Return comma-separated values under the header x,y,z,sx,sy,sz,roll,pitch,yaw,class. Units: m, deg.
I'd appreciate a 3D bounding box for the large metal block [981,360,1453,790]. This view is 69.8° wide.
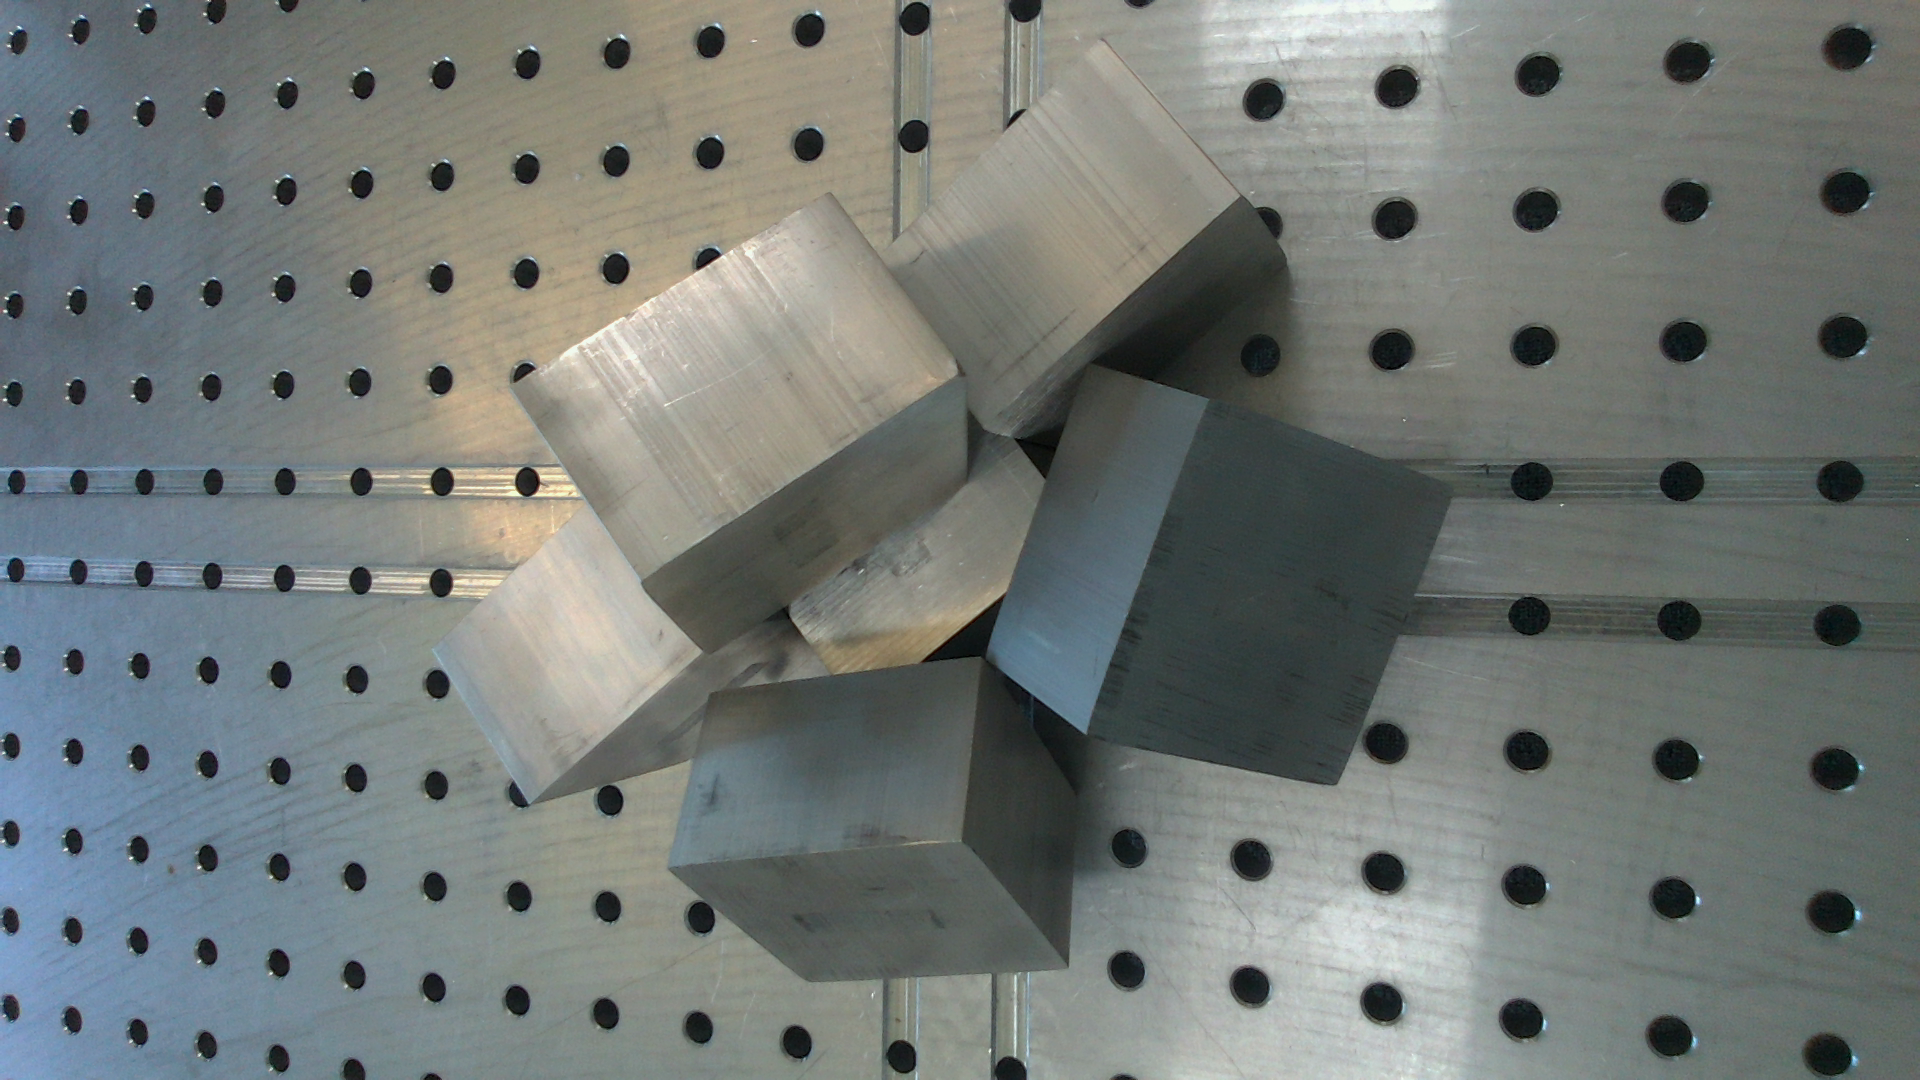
x,y,z,sx,sy,sz,roll,pitch,yaw,class
0.062,0.009,0.339,0.050,0.080,0.080,31,104,59,large metal block

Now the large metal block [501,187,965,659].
x,y,z,sx,sy,sz,roll,pitch,yaw,class
-0.046,-0.023,0.319,0.080,0.080,0.050,-34,78,-9,large metal block

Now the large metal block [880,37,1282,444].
x,y,z,sx,sy,sz,roll,pitch,yaw,class
0.032,-0.071,0.357,0.080,0.080,0.050,-41,77,15,large metal block

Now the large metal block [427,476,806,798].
x,y,z,sx,sy,sz,roll,pitch,yaw,class
-0.089,0.025,0.400,0.080,0.080,0.050,-40,78,15,large metal block

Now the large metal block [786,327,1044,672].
x,y,z,sx,sy,sz,roll,pitch,yaw,class
-0.013,-0.009,0.391,0.080,0.050,0.080,-41,77,15,large metal block

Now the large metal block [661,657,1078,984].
x,y,z,sx,sy,sz,roll,pitch,yaw,class
-0.020,0.079,0.369,0.080,0.080,0.050,-9,50,20,large metal block
